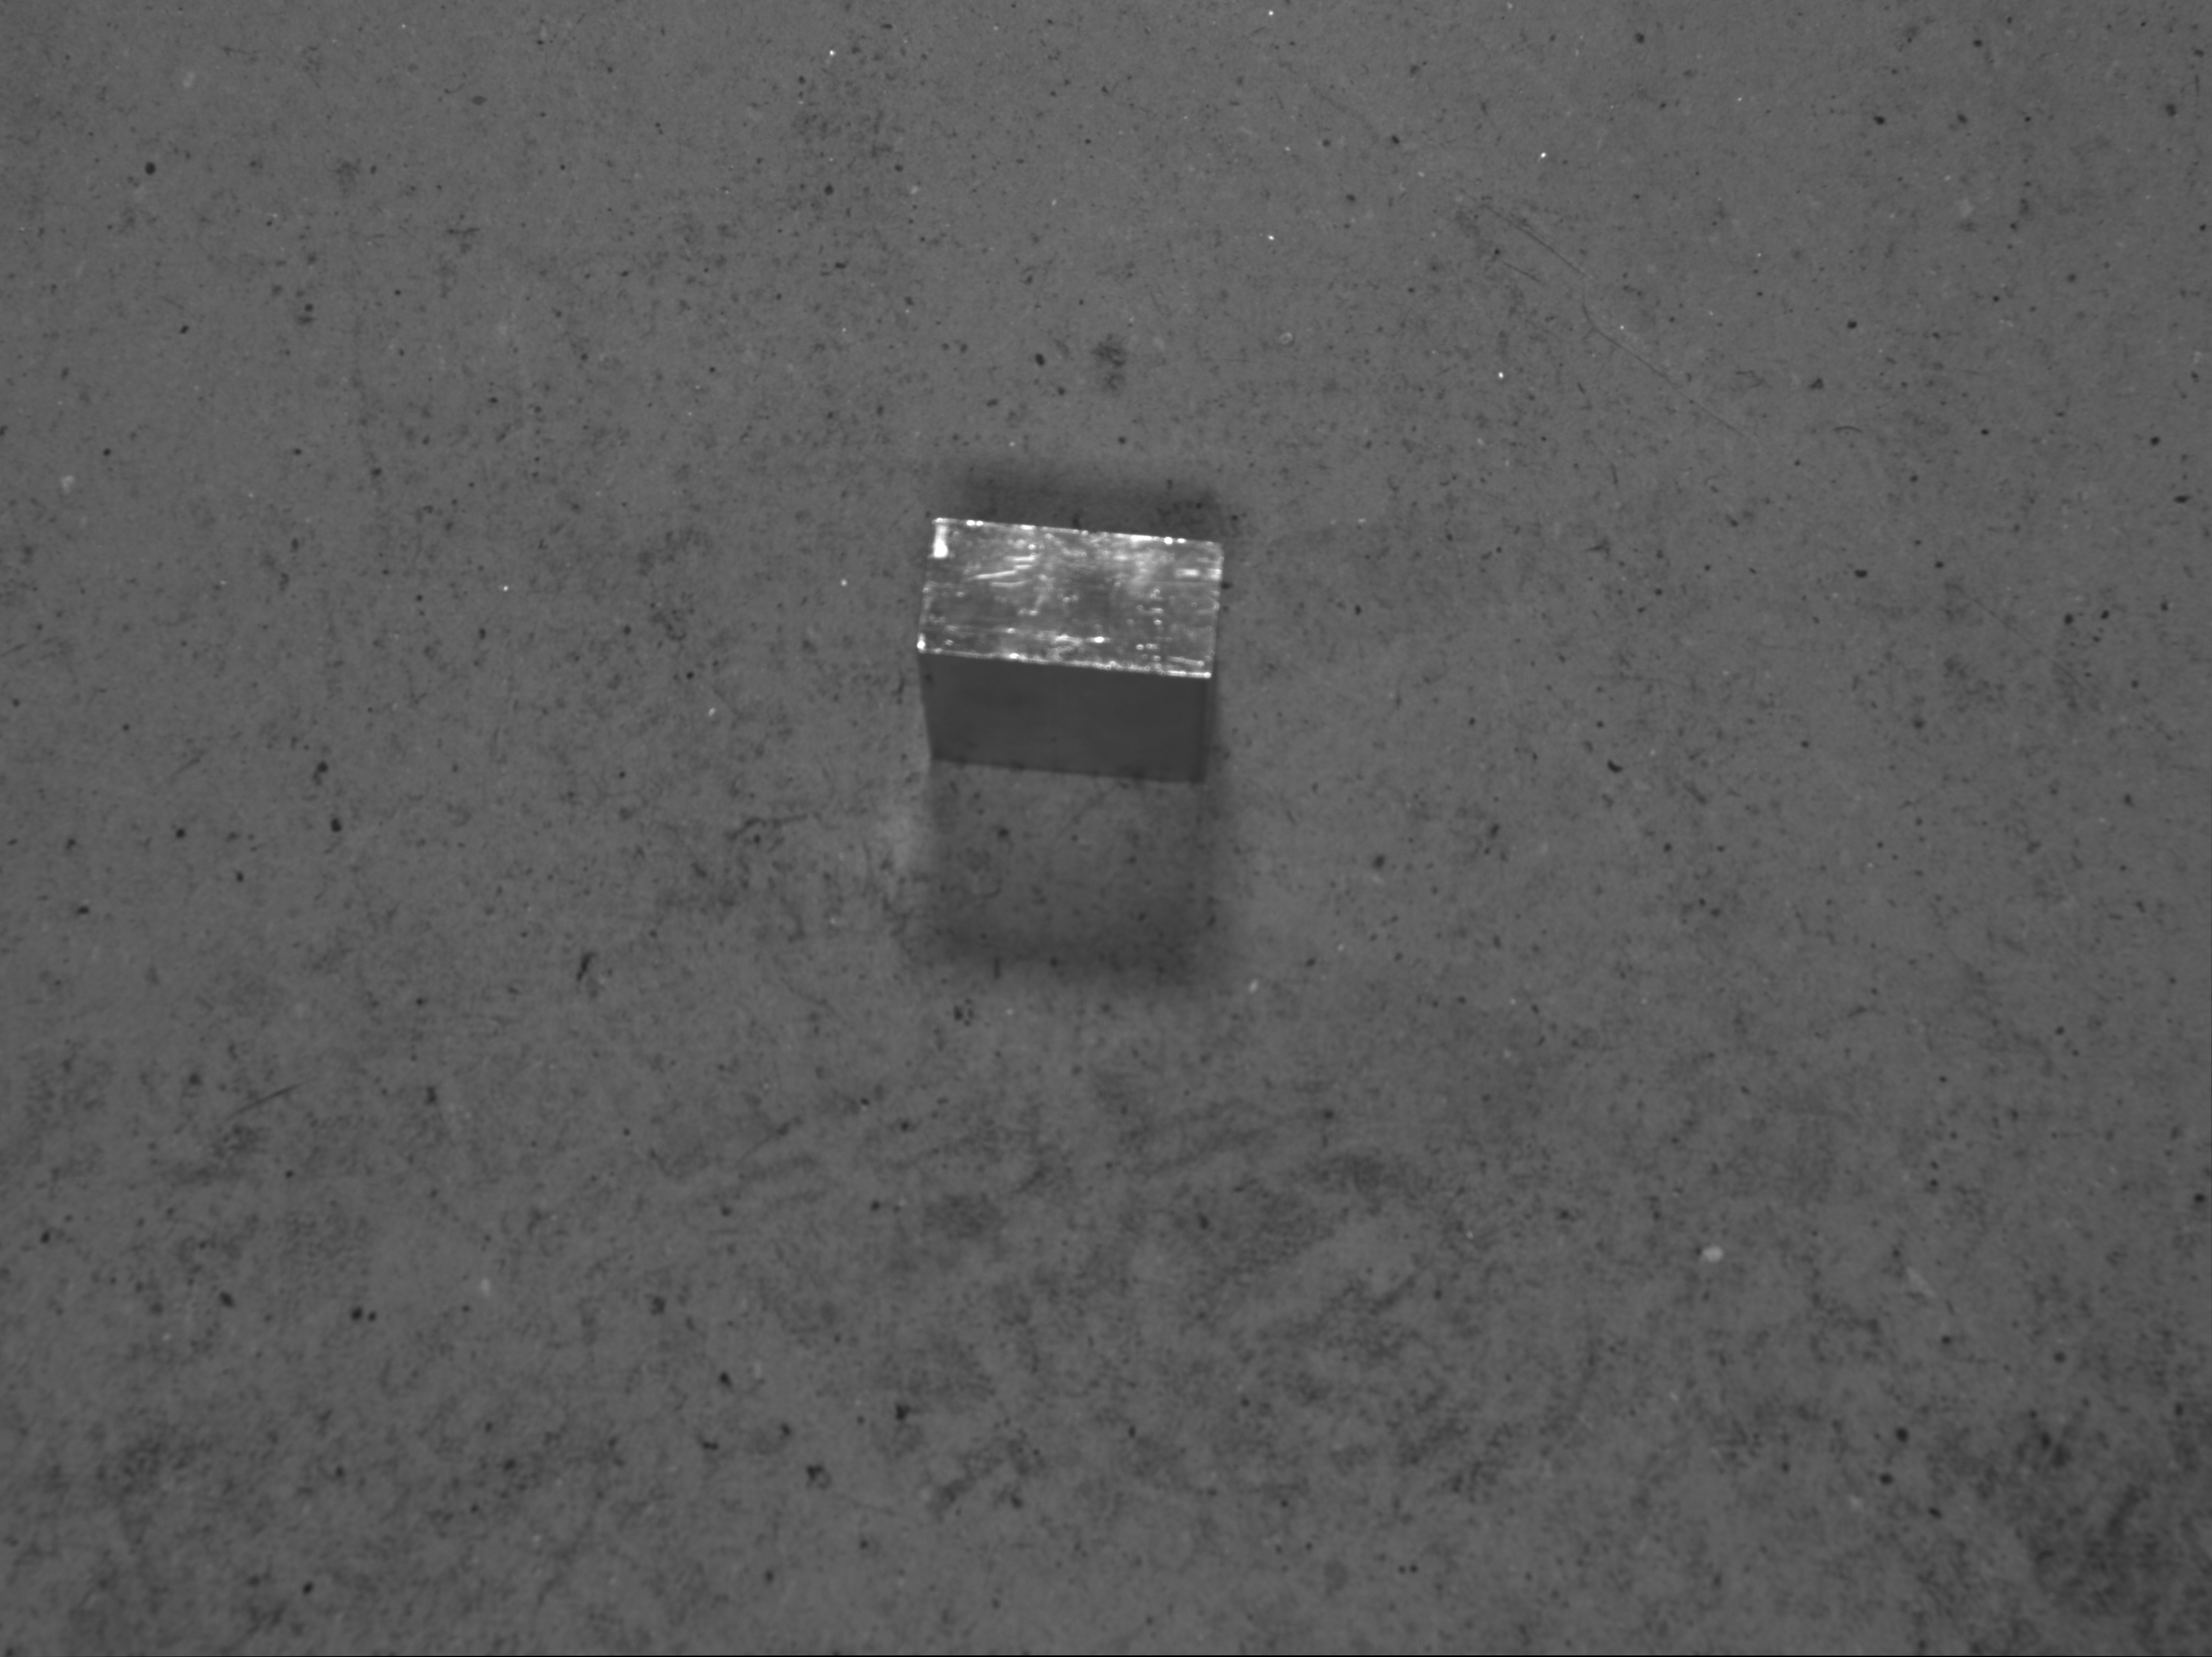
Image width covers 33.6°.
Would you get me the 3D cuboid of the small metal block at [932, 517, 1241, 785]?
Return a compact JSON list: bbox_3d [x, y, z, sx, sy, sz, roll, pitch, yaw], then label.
[{"bbox_3d":[-0.003,-0.030,0.642,0.050,0.050,0.025,5,70,2],"label":"small metal block"}]
